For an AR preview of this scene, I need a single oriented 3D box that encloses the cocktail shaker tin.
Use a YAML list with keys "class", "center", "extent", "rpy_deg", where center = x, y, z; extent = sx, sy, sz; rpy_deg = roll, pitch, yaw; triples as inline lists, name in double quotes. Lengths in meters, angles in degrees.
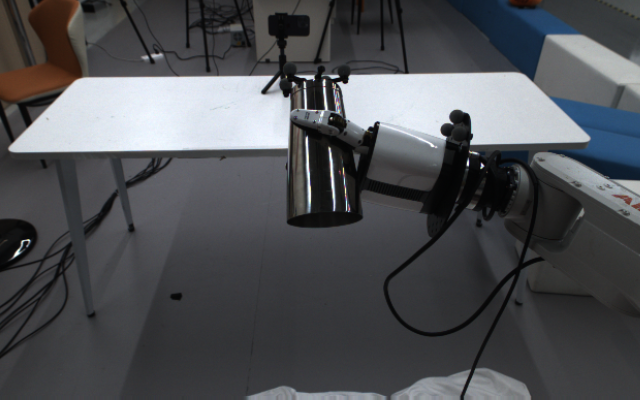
- class: "cocktail shaker tin"
  center: [0.001, -0.057, 0.598]
  extent: [0.093, 0.093, 0.170]
  rpy_deg: [-3, 76, -7]
